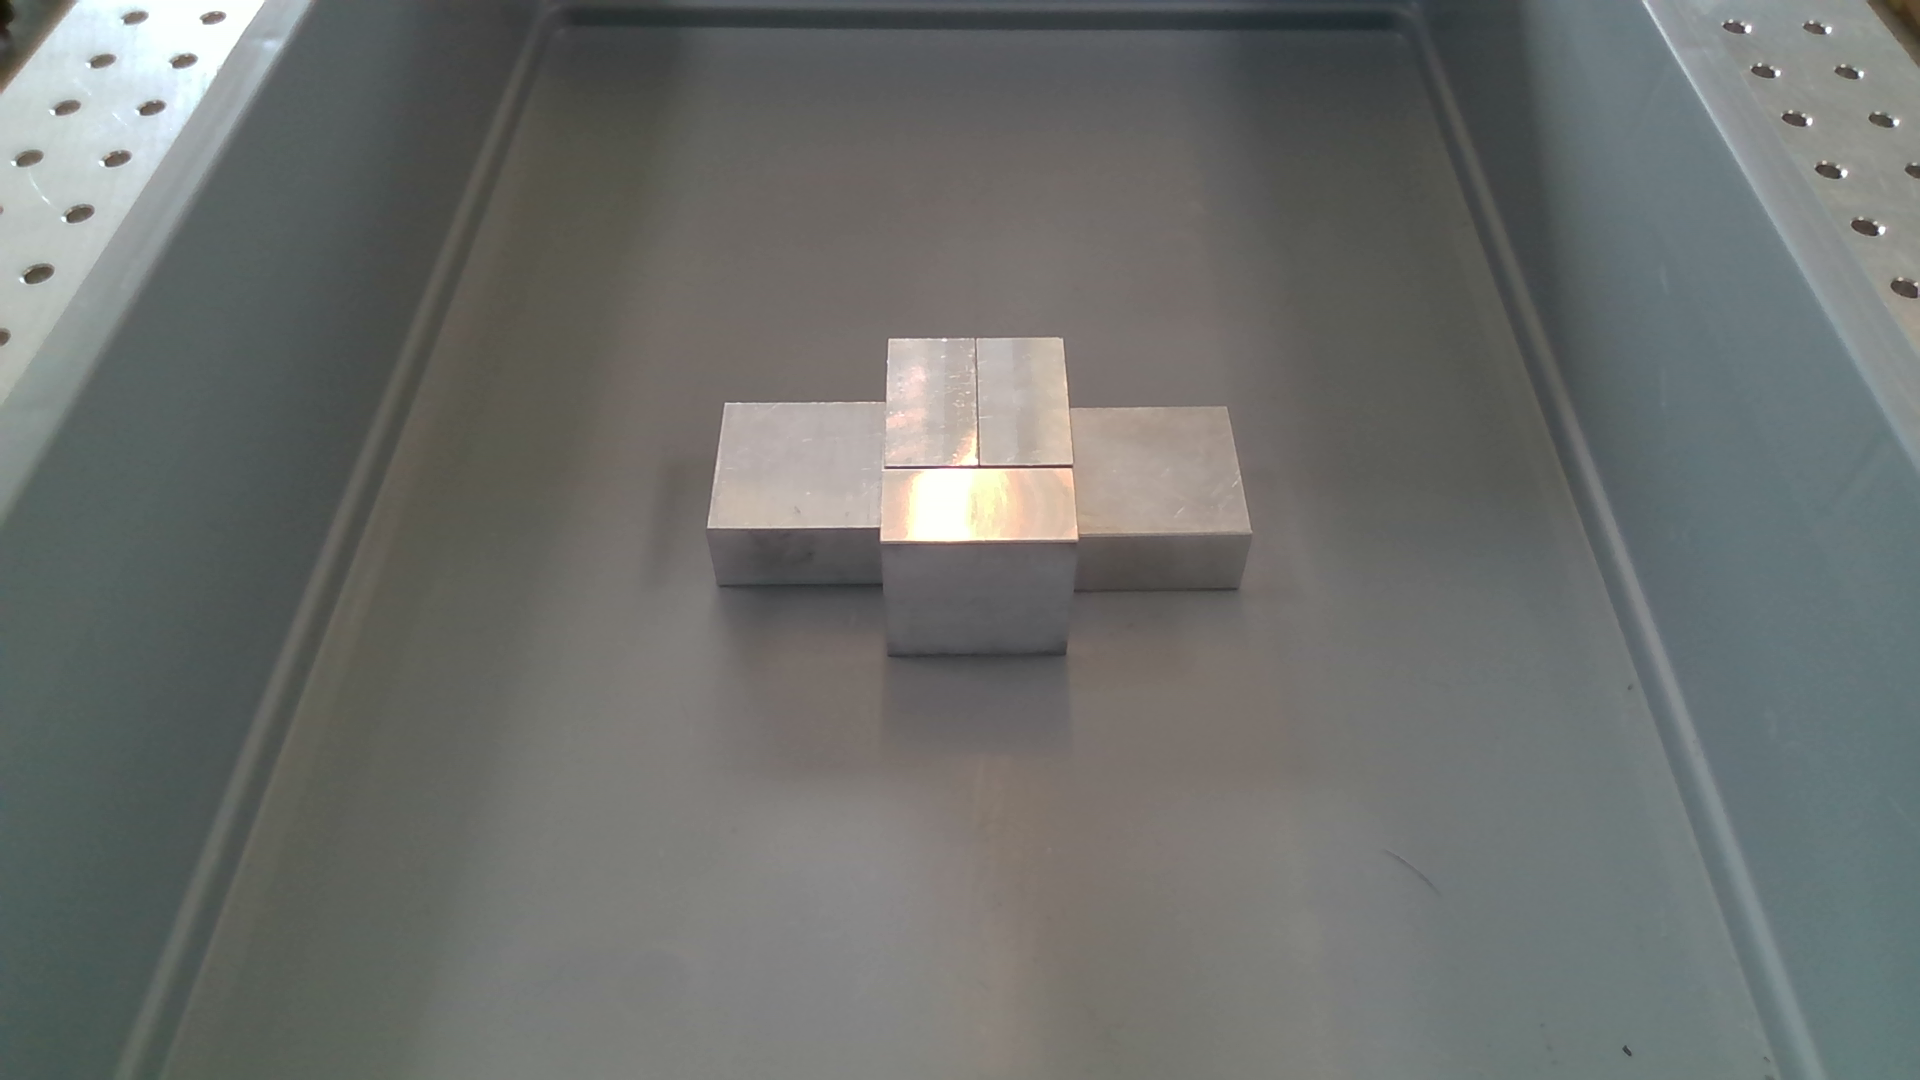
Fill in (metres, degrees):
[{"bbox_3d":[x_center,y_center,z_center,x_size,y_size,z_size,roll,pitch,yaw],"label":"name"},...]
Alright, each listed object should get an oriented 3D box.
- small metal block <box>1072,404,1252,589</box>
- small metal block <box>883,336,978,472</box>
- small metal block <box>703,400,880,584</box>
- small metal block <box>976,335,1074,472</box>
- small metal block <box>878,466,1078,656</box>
[{"bbox_3d":[0.055,-0.013,0.403,0.050,0.025,0.050,0,50,0],"label":"small metal block"},{"bbox_3d":[-0.008,-0.023,0.395,0.025,0.050,0.050,0,50,0],"label":"small metal block"},{"bbox_3d":[-0.046,-0.014,0.404,0.050,0.025,0.050,0,50,0],"label":"small metal block"},{"bbox_3d":[0.017,-0.023,0.395,0.025,0.050,0.050,0,50,0],"label":"small metal block"},{"bbox_3d":[0.004,0.006,0.370,0.050,0.050,0.025,0,50,0],"label":"small metal block"}]
